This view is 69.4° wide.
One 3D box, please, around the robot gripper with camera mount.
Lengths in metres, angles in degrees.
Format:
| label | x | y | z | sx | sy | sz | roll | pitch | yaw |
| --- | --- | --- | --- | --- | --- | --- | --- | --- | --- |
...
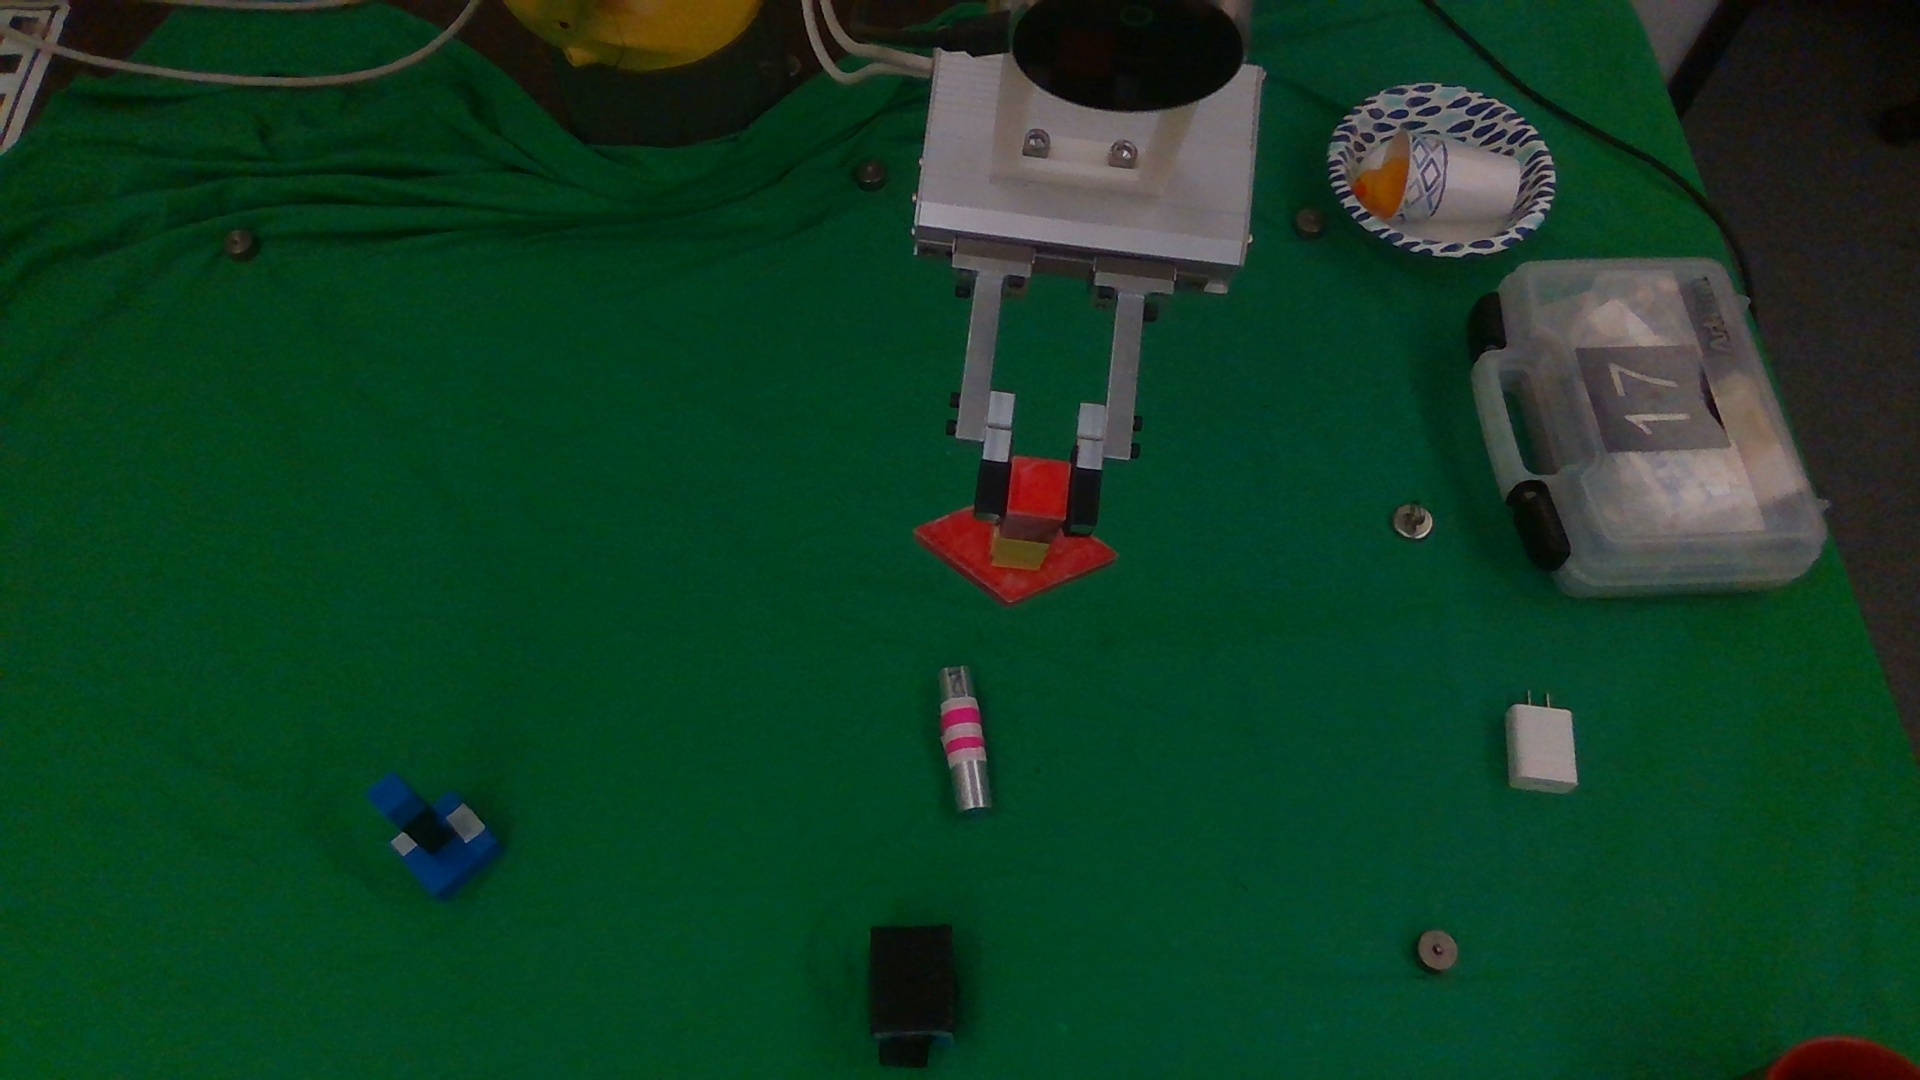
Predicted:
| label | x | y | z | sx | sy | sz | roll | pitch | yaw |
| --- | --- | --- | --- | --- | --- | --- | --- | --- | --- |
| robot gripper with camera mount | 0.045 | -0.092 | 0.418 | 0.119 | 0.193 | 0.158 | 8 | 80 | -8 |

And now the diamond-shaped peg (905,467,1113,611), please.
| label | x | y | z | sx | sy | sz | roll | pitch | yaw |
| --- | --- | --- | --- | --- | --- | --- | --- | --- | --- |
| diamond-shaped peg | 0.021 | -0.004 | 0.519 | 0.074 | 0.122 | 0.045 | -22 | 82 | -5 |
